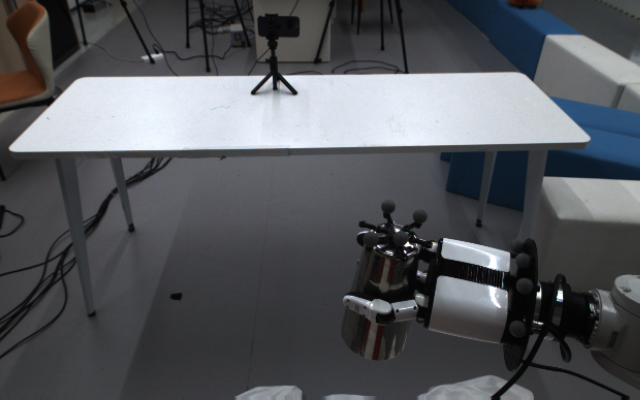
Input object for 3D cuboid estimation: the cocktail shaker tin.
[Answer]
[{"bbox_3d":[0.083,0.114,0.624,0.093,0.170,0.093,4,36,-3],"label":"cocktail shaker tin"}]
